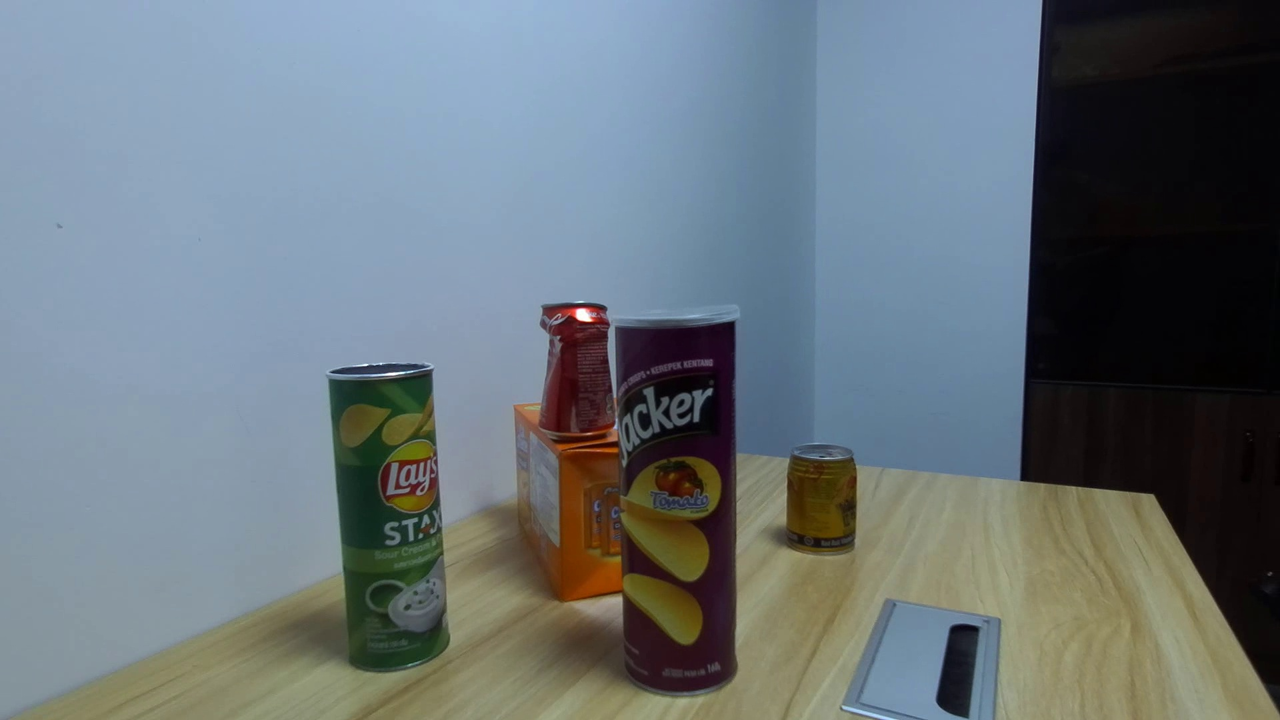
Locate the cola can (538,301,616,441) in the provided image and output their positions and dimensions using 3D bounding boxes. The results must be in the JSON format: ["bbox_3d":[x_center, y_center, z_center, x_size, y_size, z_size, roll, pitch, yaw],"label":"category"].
[{"bbox_3d":[-0.051,0.008,0.590,0.065,0.112,0.069,-2,6,5],"label":"cola can"}]

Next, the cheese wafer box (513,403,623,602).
[{"bbox_3d":[-0.049,0.124,0.808,0.150,0.137,0.226,-3,10,-22],"label":"cheese wafer box"}]

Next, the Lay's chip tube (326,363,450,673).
[{"bbox_3d":[-0.173,0.106,0.493,0.071,0.202,0.071,-1,6,0],"label":"Lay's chip tube"}]

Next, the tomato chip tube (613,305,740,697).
[{"bbox_3d":[0.026,0.088,0.458,0.078,0.233,0.078,-2,7,0],"label":"tomato chip tube"}]

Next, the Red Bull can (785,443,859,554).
[{"bbox_3d":[0.174,0.132,0.677,0.069,0.092,0.069,-2,8,1],"label":"Red Bull can"}]
